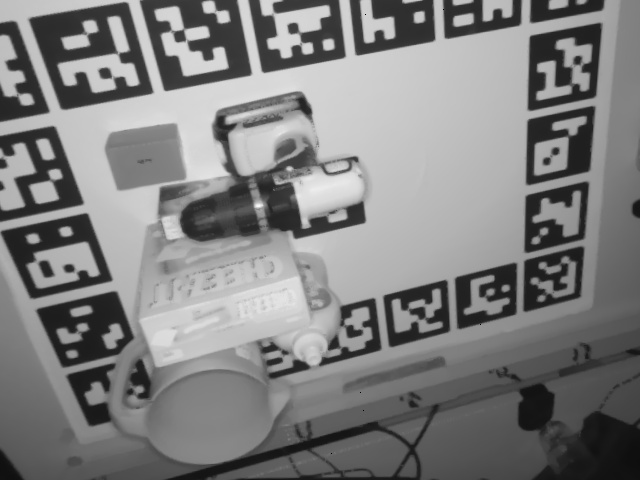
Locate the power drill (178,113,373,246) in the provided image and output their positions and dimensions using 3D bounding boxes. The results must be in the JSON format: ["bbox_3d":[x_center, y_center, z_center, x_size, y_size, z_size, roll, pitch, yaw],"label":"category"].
[{"bbox_3d":[-0.053,-0.063,0.708,0.185,0.187,0.057,-12,122,-6],"label":"power drill"}]

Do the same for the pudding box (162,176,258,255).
[{"bbox_3d":[-0.118,-0.029,0.789,0.115,0.090,0.038,-12,120,-10],"label":"pudding box"}]

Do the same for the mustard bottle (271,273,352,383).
[{"bbox_3d":[-0.014,0.107,0.828,0.097,0.191,0.058,1,116,-13],"label":"mustard bottle"}]

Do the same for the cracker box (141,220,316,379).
[{"bbox_3d":[-0.110,0.039,0.764,0.165,0.214,0.071,-14,121,-8],"label":"cracker box"}]

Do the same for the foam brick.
[{"bbox_3d":[-0.189,-0.088,0.780,0.078,0.051,0.052,-10,117,-8],"label":"foam brick"}]

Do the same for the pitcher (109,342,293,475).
[{"bbox_3d":[-0.141,0.140,0.801,0.190,0.242,0.132,-7,118,-11],"label":"pitcher"}]
